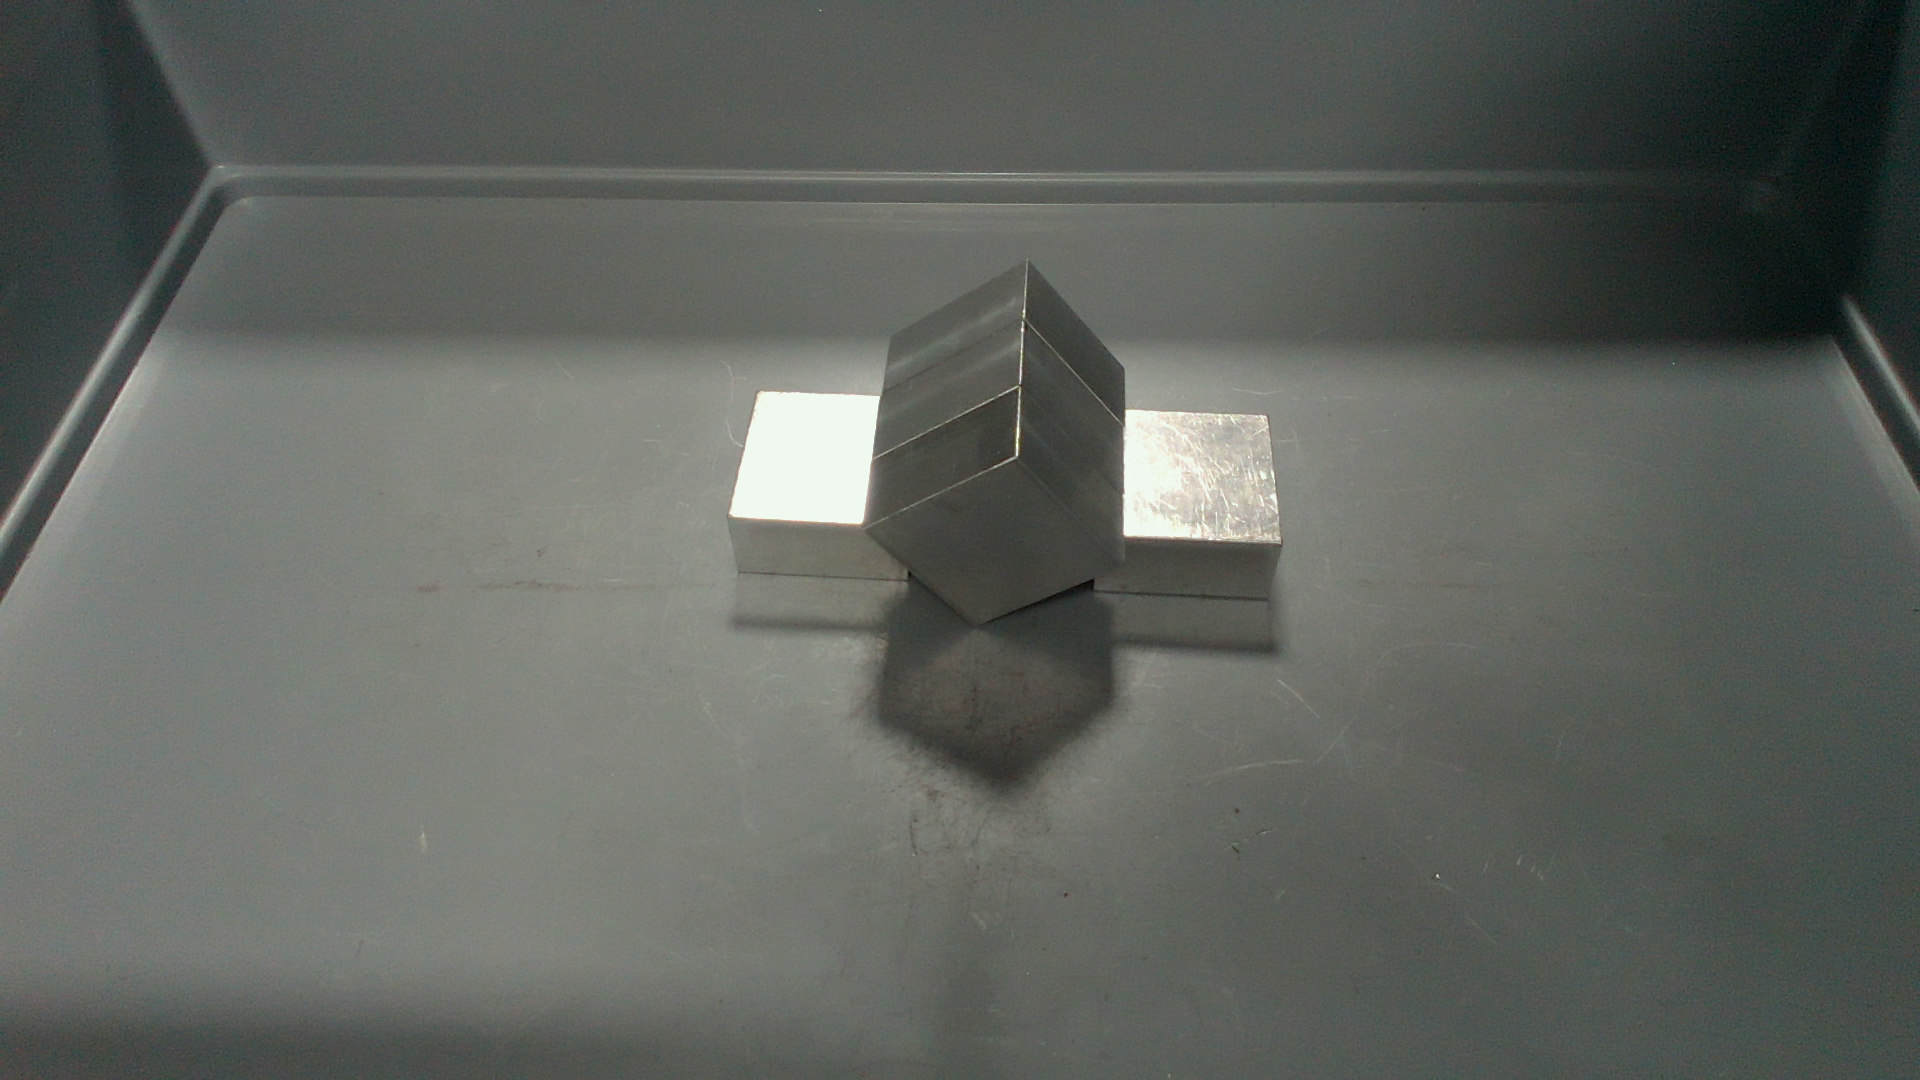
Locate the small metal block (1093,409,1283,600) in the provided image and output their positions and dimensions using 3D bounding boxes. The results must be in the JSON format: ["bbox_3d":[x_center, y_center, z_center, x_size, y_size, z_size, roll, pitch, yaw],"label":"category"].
[{"bbox_3d":[0.064,-0.011,0.400,0.050,0.025,0.050,2,50,2],"label":"small metal block"}]

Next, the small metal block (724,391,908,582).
[{"bbox_3d":[-0.038,-0.016,0.404,0.050,0.025,0.050,3,50,3],"label":"small metal block"}]

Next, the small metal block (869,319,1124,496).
[{"bbox_3d":[0.011,-0.027,0.383,0.050,0.050,0.025,-24,42,28],"label":"small metal block"}]

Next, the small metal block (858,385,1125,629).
[{"bbox_3d":[0.009,-0.007,0.367,0.050,0.050,0.025,-24,42,28],"label":"small metal block"}]

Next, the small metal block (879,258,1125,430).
[{"bbox_3d":[0.013,-0.046,0.399,0.050,0.050,0.025,-24,42,29],"label":"small metal block"}]
